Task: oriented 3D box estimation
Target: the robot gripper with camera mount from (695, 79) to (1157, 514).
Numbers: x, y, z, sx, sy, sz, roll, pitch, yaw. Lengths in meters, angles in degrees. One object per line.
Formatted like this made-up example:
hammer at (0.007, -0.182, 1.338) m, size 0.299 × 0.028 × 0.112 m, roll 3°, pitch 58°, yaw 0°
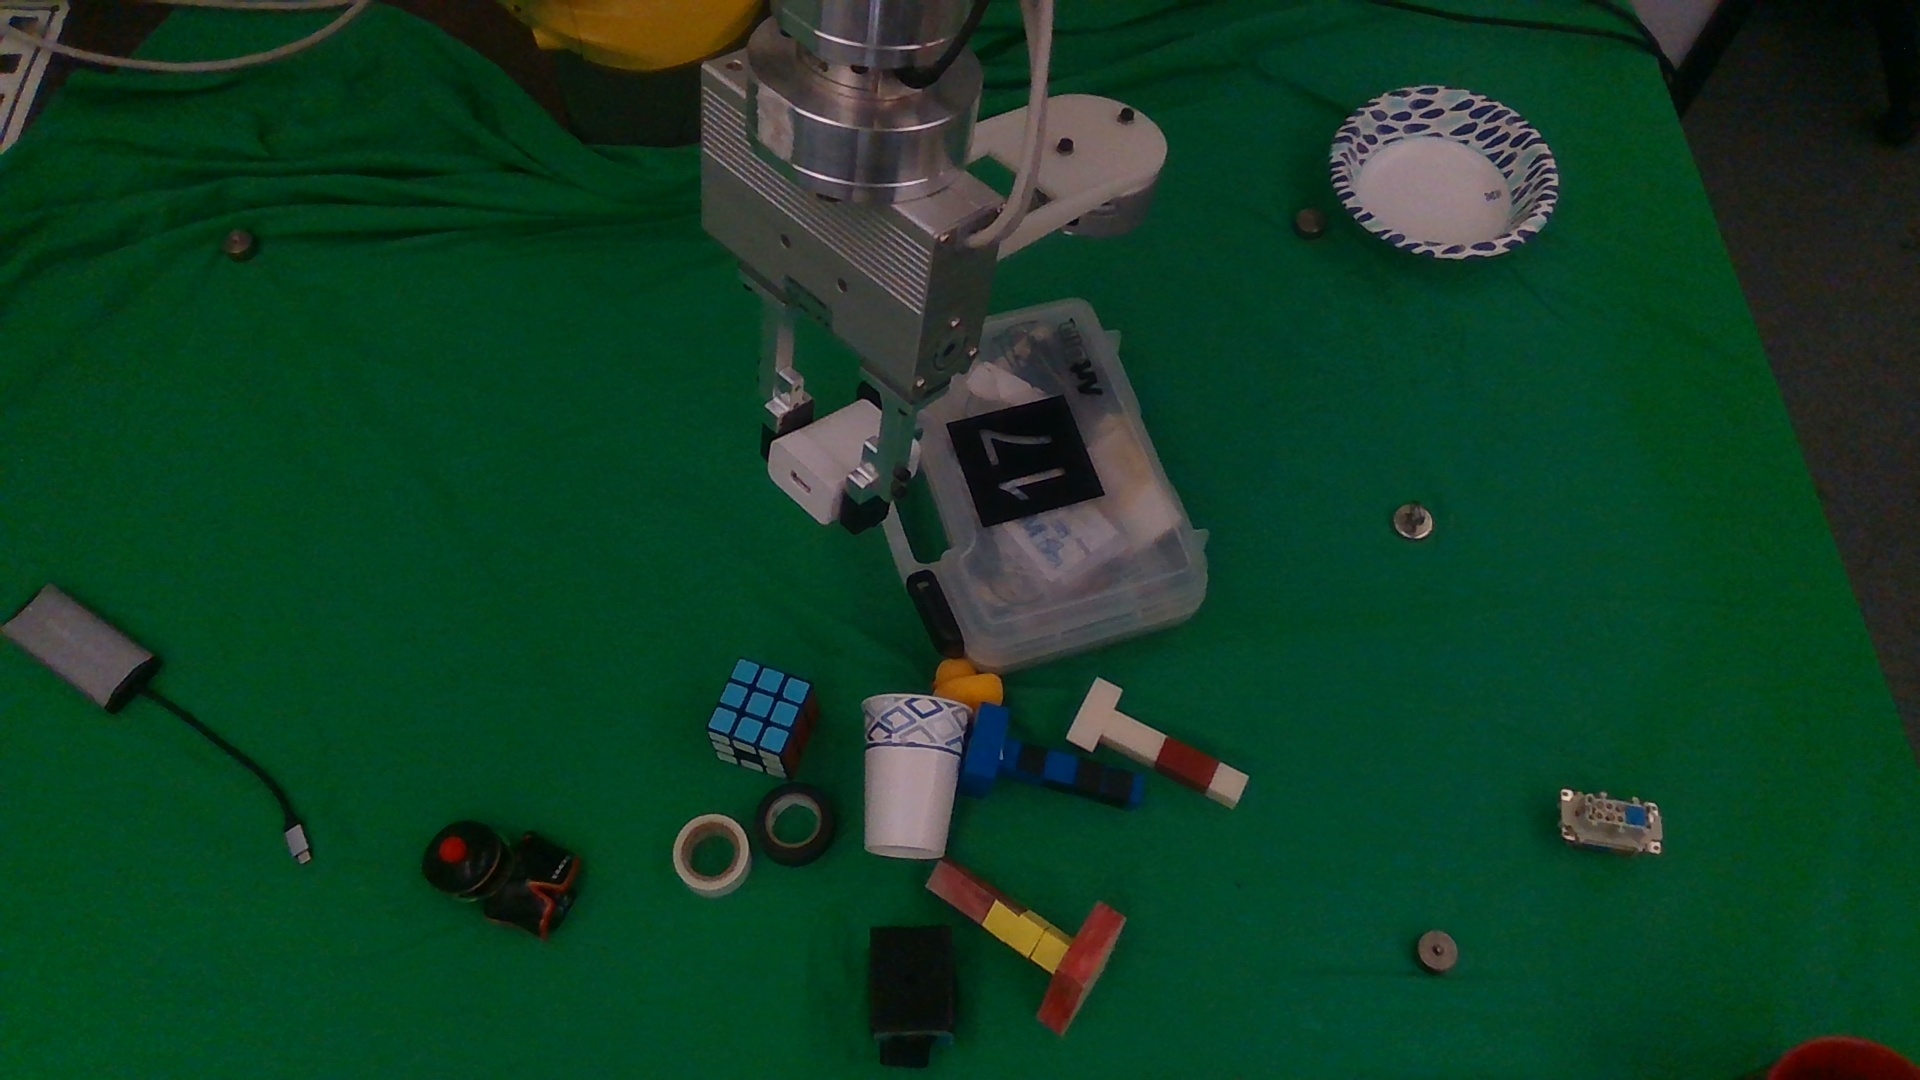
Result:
robot gripper with camera mount at (0.003, -0.119, 0.592) m, size 0.119 × 0.158 × 0.193 m, roll 36°, pitch 52°, yaw 26°

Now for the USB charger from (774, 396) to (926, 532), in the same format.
USB charger at (-0.043, -0.040, 0.612) m, size 0.045 × 0.029 × 0.075 m, roll 21°, pitch 50°, yaw 21°
